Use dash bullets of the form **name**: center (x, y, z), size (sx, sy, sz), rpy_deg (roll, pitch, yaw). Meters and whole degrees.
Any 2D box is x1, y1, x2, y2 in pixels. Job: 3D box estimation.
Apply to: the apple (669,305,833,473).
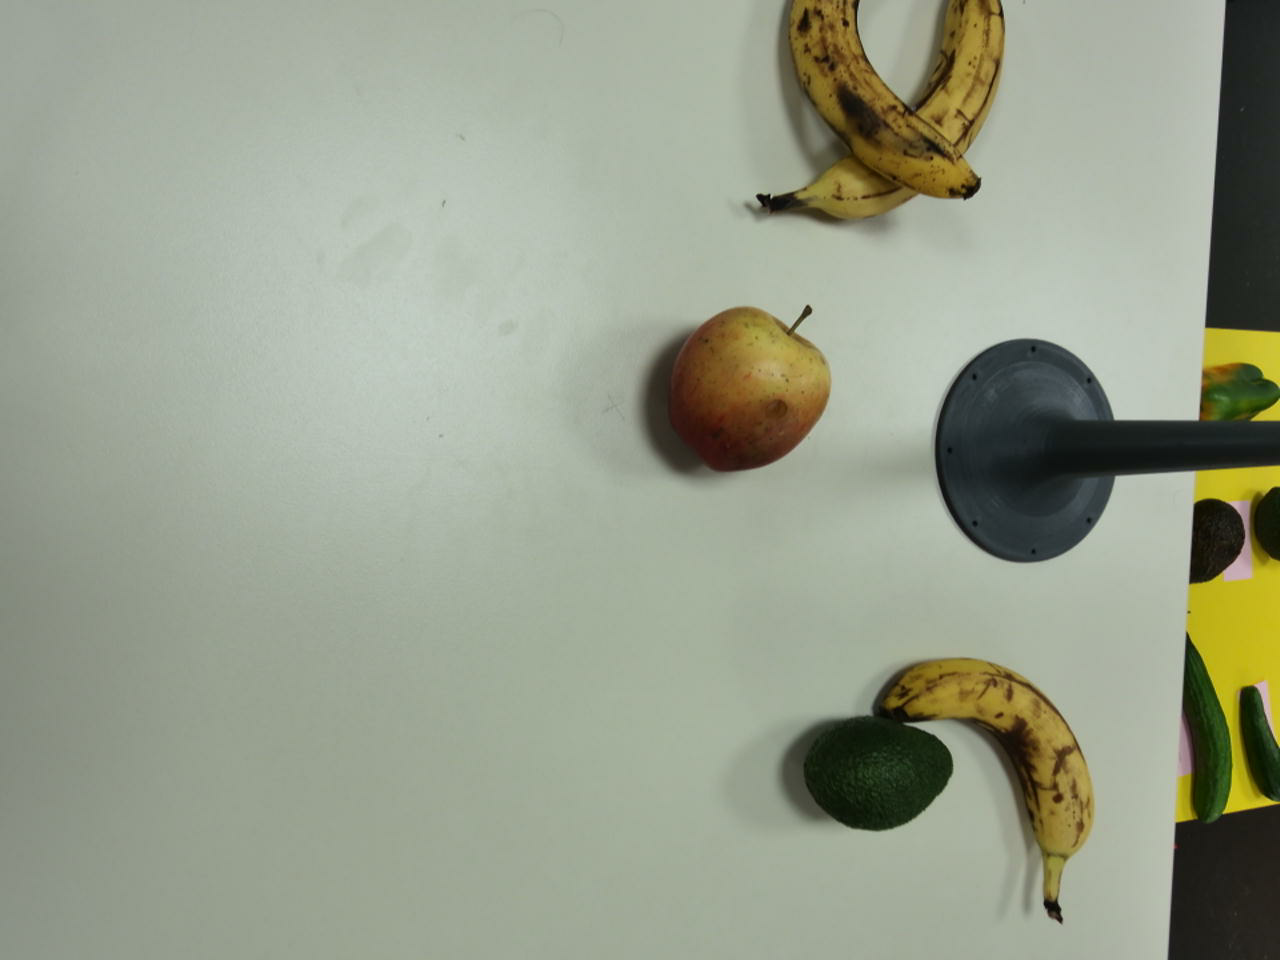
- **apple**: center (0.061, -0.051, 0.554), size (0.093, 0.084, 0.086), rpy_deg (-34, 102, -19)
